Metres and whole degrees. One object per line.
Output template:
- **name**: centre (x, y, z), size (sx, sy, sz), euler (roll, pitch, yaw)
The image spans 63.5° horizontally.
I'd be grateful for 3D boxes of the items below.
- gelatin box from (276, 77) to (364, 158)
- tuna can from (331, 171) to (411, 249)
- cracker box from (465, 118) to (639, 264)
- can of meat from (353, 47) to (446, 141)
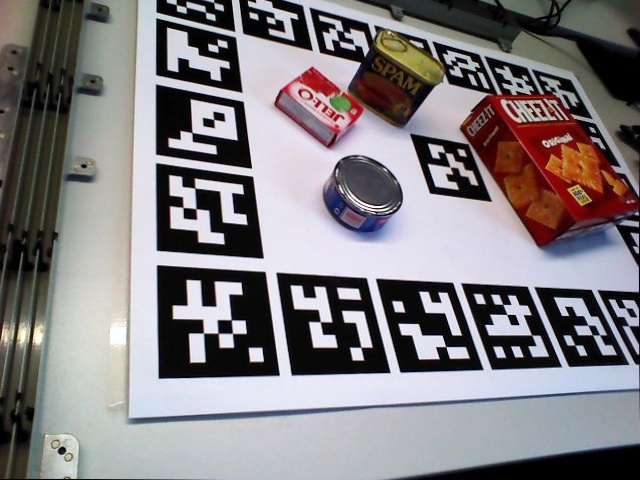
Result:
- **gelatin box**: centre (0.002, -0.153, 0.642), size (0.089, 0.030, 0.073), euler (40, 46, 0)
- **tuna can**: centre (0.057, -0.033, 0.579), size (0.085, 0.034, 0.085), euler (12, 57, -19)
- **cracker box**: centre (0.338, -0.082, 0.746), size (0.163, 0.072, 0.213), euler (-11, 62, -34)
- **can of meat**: centre (0.103, -0.193, 0.697), size (0.102, 0.084, 0.057), euler (29, 49, -5)
